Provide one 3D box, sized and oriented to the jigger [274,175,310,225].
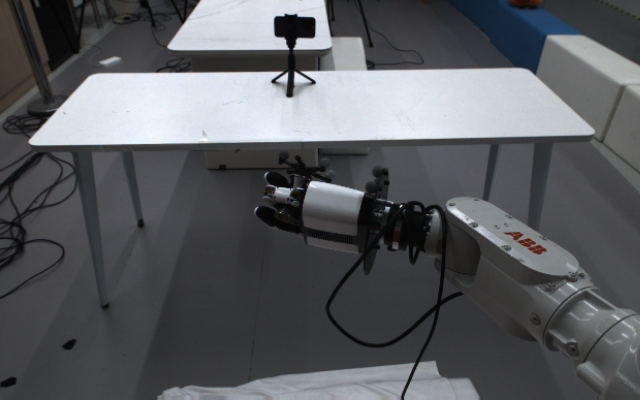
[{"bbox_3d":[-0.037,0.000,0.743,0.043,0.043,0.071,13,70,16],"label":"jigger"}]
